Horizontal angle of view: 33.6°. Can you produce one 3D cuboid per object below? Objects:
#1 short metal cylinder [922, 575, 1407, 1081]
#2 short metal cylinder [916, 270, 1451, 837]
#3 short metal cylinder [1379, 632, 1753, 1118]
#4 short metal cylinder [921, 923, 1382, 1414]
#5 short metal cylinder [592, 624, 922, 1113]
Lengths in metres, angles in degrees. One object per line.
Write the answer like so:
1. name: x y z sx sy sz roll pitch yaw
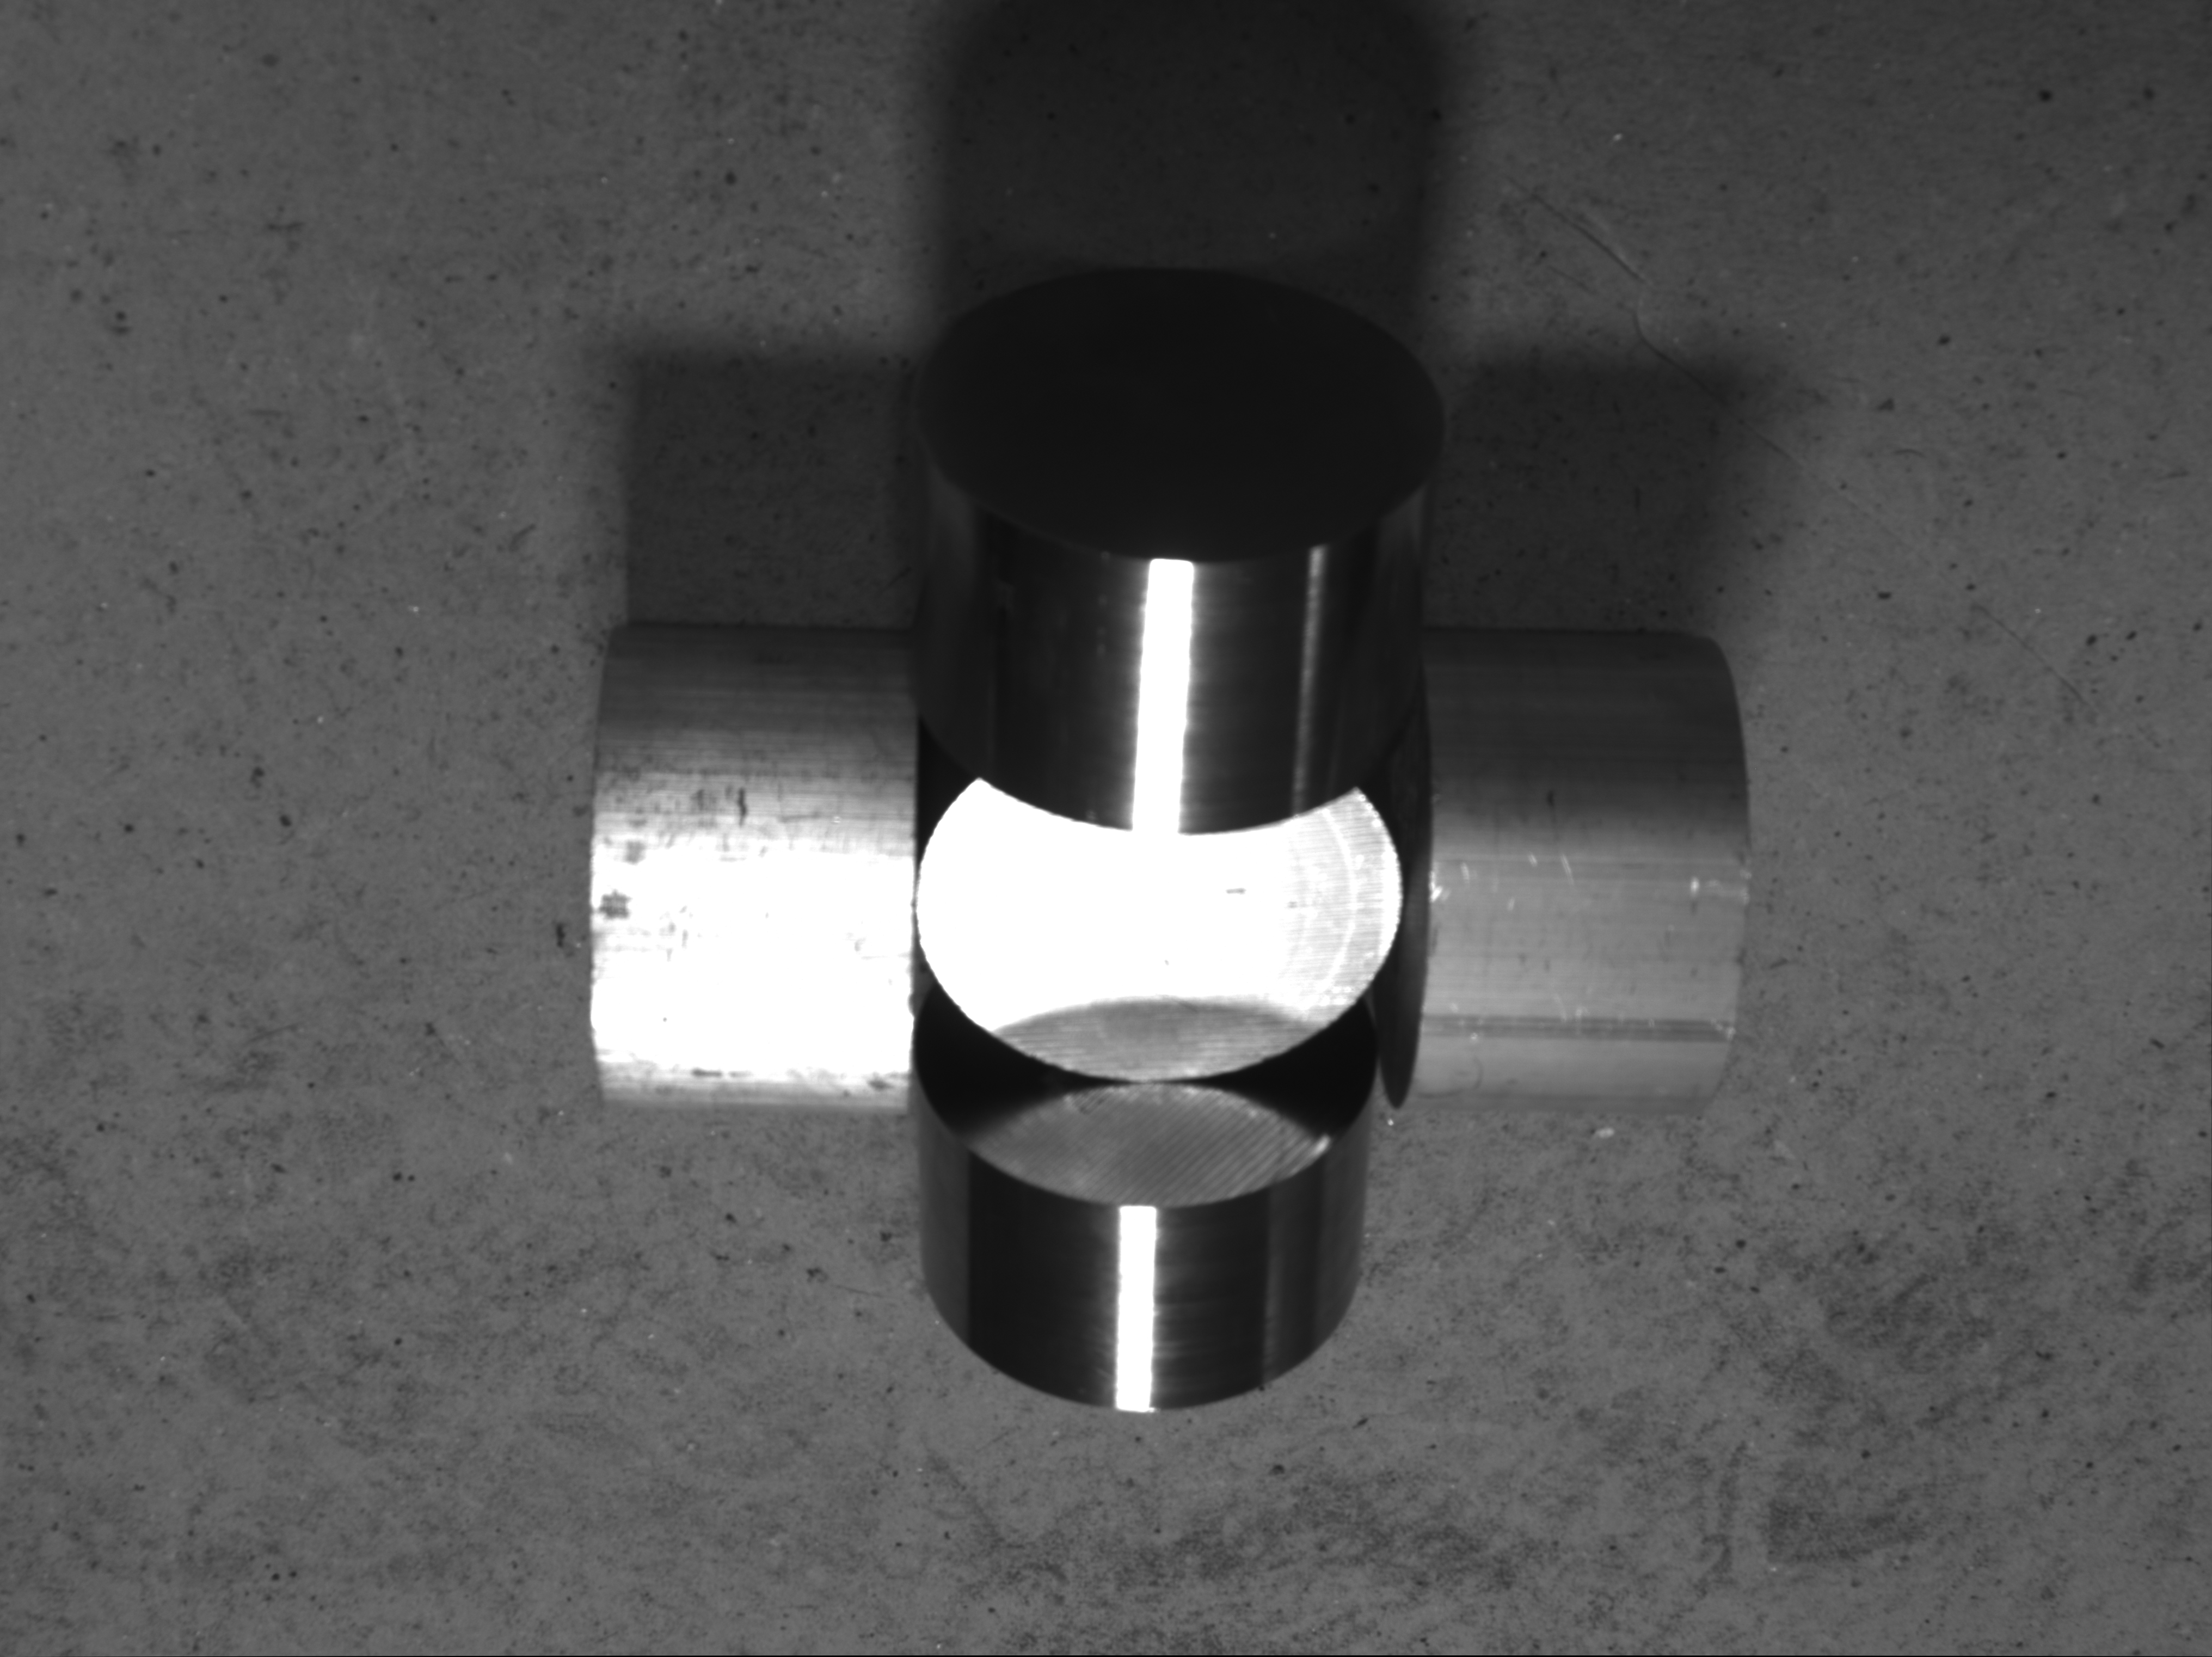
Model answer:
1. short metal cylinder: 0.009 -0.003 0.620 0.080 0.050 0.080 -1 130 -1
2. short metal cylinder: 0.011 -0.044 0.565 0.080 0.080 0.050 1 130 -3
3. short metal cylinder: 0.074 0.008 0.612 0.050 0.080 0.080 2 130 -3
4. short metal cylinder: 0.007 0.057 0.650 0.080 0.080 0.050 0 129 -2
5. short metal cylinder: -0.056 0.007 0.607 0.050 0.080 0.080 2 130 -3
